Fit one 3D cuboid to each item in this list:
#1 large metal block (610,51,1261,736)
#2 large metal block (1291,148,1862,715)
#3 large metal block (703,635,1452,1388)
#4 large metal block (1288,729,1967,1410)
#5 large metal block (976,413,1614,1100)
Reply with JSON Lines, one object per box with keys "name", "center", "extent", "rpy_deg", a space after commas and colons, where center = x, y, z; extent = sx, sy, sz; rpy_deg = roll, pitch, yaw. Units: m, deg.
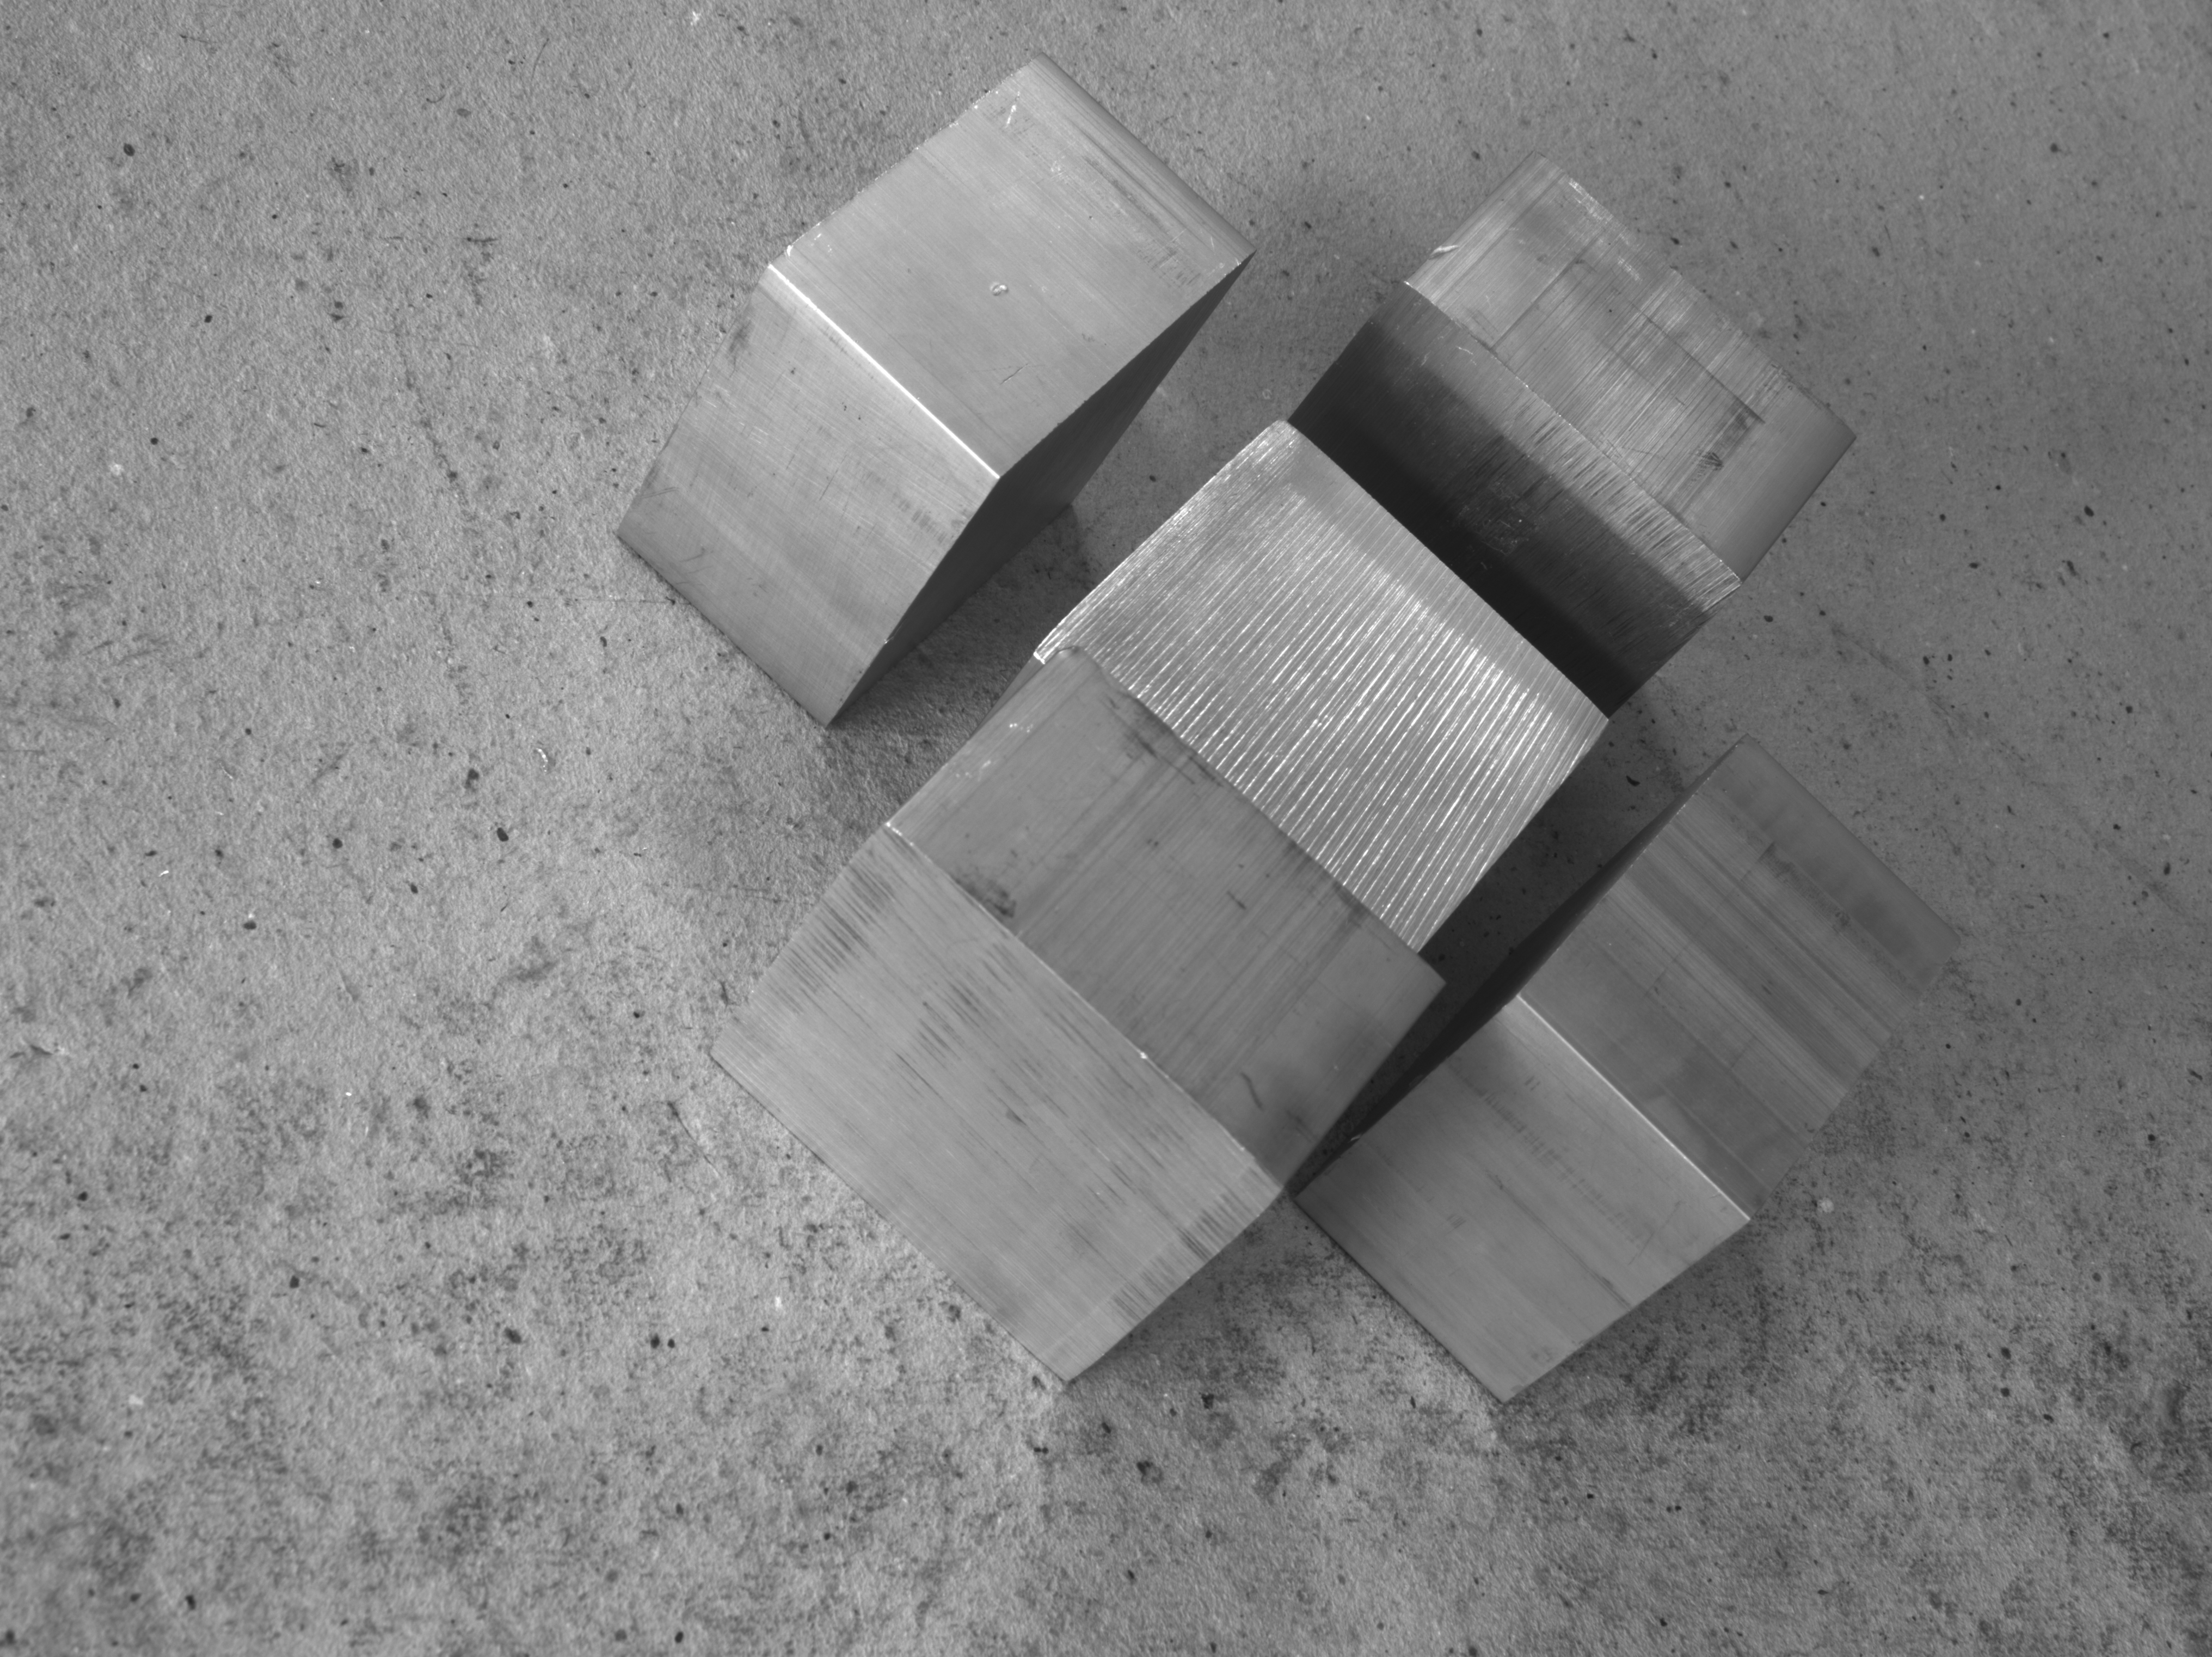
{"name": "large metal block", "center": [-0.030, -0.075, 0.635], "extent": [0.050, 0.080, 0.080], "rpy_deg": [43, 51, 2]}
{"name": "large metal block", "center": [0.078, -0.064, 0.685], "extent": [0.080, 0.080, 0.050], "rpy_deg": [42, 50, 1]}
{"name": "large metal block", "center": [-0.006, 0.030, 0.582], "extent": [0.080, 0.080, 0.050], "rpy_deg": [43, 51, 1]}
{"name": "large metal block", "center": [0.088, 0.041, 0.626], "extent": [0.050, 0.080, 0.080], "rpy_deg": [44, 51, 3]}
{"name": "large metal block", "center": [0.028, -0.012, 0.643], "extent": [0.080, 0.050, 0.080], "rpy_deg": [43, 51, 2]}
